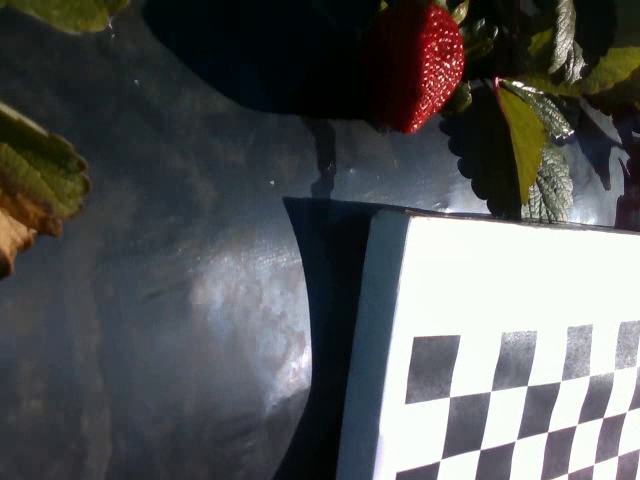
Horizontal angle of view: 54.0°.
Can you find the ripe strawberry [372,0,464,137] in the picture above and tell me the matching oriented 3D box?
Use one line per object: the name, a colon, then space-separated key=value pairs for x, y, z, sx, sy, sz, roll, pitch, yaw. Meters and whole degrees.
ripe strawberry: x=0.029 y=-0.058 z=0.220 sx=0.058 sy=0.066 sz=0.062 roll=-30 pitch=35 yaw=5
